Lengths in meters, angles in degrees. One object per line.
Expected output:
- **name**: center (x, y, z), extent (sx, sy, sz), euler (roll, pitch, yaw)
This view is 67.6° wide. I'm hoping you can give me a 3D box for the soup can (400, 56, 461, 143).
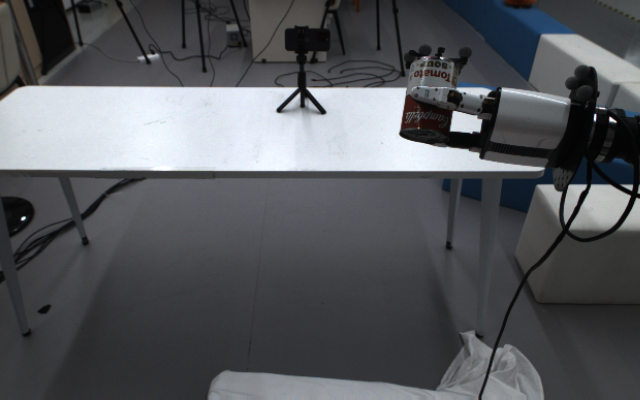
- **soup can**: center (0.150, -0.137, 0.662), extent (0.067, 0.101, 0.067), euler (9, -5, 1)
